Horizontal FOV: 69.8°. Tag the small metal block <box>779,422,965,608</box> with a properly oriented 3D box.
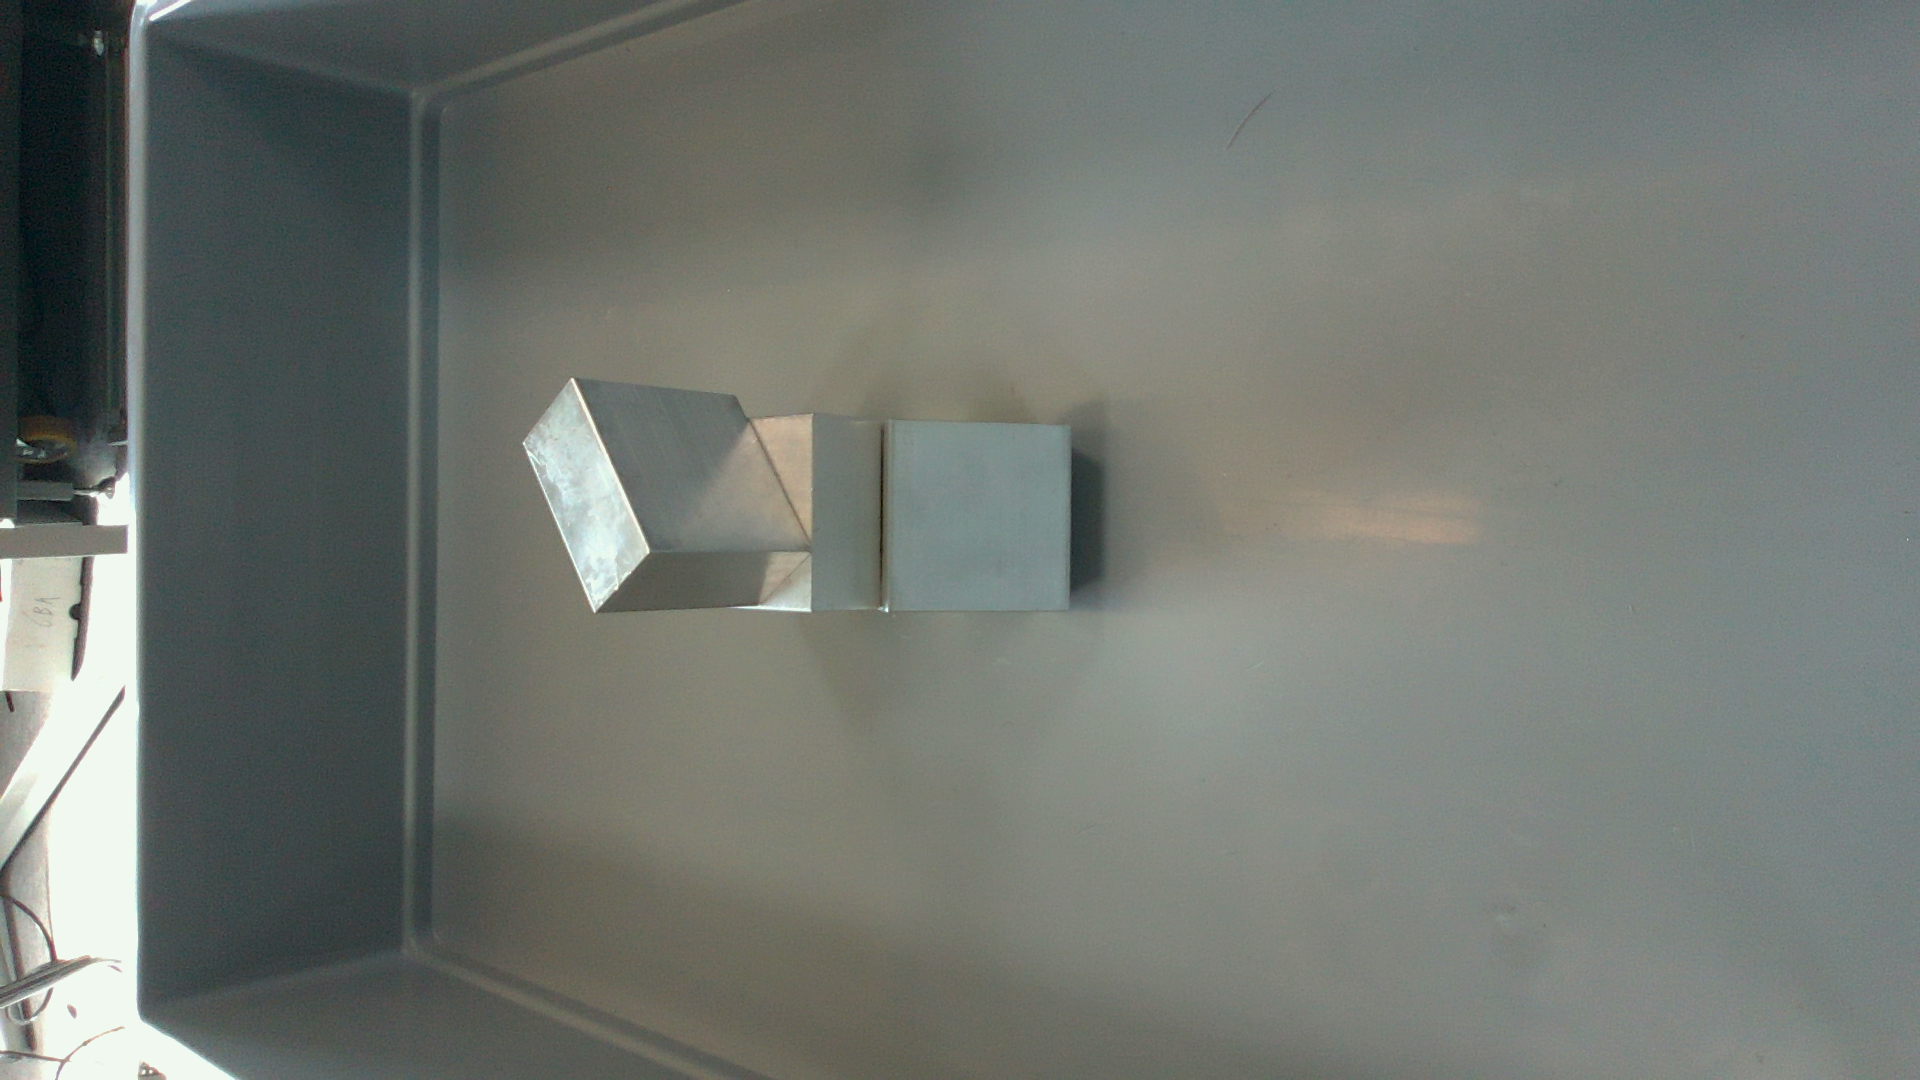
[{"bbox_3d":[-0.025,-0.007,0.397,0.025,0.050,0.050,1,90,40],"label":"small metal block"}]

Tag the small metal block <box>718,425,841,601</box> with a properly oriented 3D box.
[{"bbox_3d":[-0.054,-0.008,0.418,0.025,0.050,0.050,0,90,7],"label":"small metal block"}]

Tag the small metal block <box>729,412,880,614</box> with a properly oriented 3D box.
[{"bbox_3d":[-0.049,-0.007,0.367,0.050,0.025,0.050,1,90,40],"label":"small metal block"}]

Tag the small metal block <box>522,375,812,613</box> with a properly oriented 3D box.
[{"bbox_3d":[-0.072,-0.011,0.338,0.025,0.050,0.050,-43,64,32],"label":"small metal block"}]

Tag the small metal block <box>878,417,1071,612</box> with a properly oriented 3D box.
[{"bbox_3d":[0.002,-0.007,0.372,0.025,0.050,0.050,-178,89,-74],"label":"small metal block"}]
